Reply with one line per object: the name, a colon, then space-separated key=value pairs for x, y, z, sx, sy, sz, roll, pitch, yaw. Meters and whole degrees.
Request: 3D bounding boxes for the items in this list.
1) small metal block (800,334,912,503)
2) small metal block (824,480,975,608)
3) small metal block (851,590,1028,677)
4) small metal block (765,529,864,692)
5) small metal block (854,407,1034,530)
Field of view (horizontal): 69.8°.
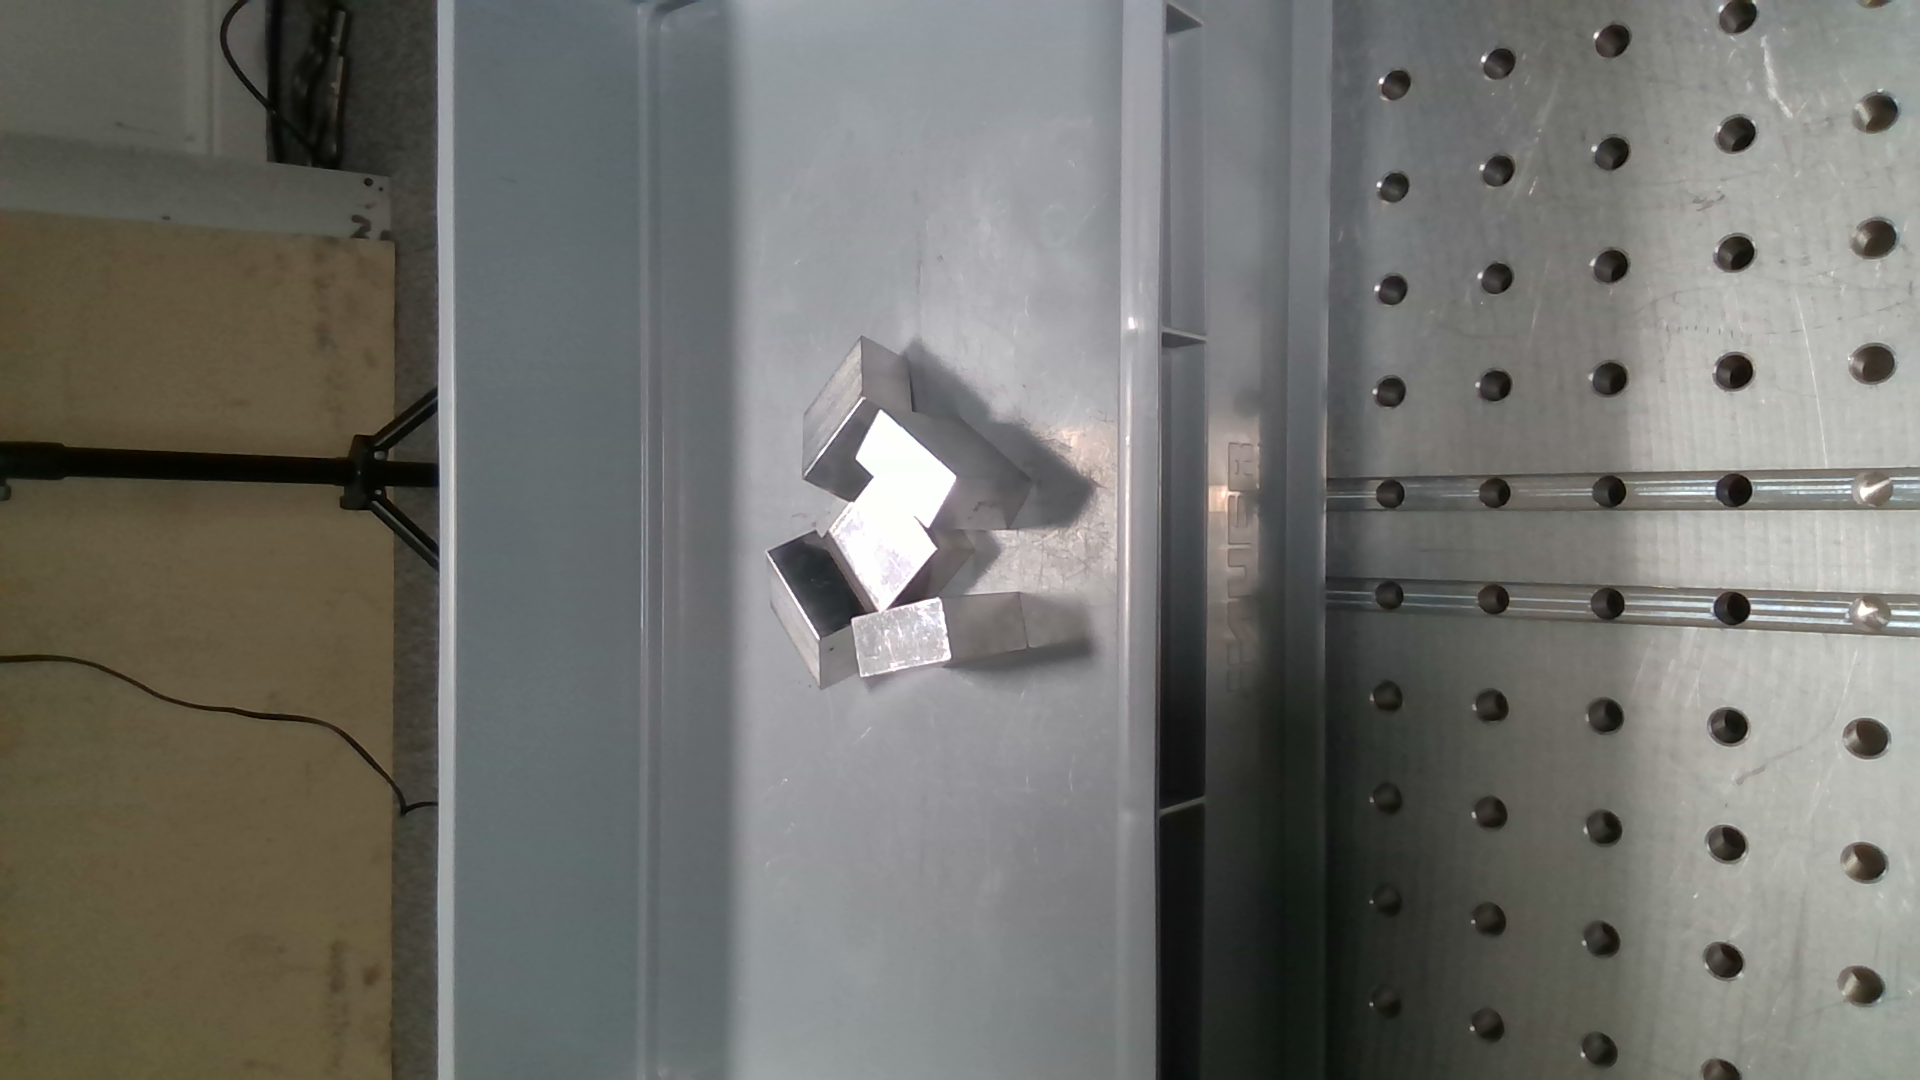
small metal block: x=-0.046 y=-0.053 z=0.604 sx=0.050 sy=0.025 sz=0.050 roll=-49 pitch=28 yaw=30
small metal block: x=-0.028 y=0.002 z=0.604 sx=0.050 sy=0.025 sz=0.050 roll=-50 pitch=61 yaw=29
small metal block: x=-0.008 y=0.039 z=0.571 sx=0.050 sy=0.050 sz=0.025 roll=-15 pitch=82 yaw=39
small metal block: x=-0.064 y=0.032 z=0.618 sx=0.050 sy=0.025 sz=0.050 roll=56 pitch=159 yaw=25
small metal block: x=-0.007 y=-0.029 z=0.568 sx=0.050 sy=0.050 sz=0.025 roll=44 pitch=116 yaw=31
